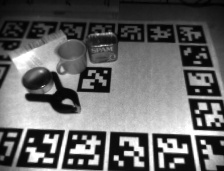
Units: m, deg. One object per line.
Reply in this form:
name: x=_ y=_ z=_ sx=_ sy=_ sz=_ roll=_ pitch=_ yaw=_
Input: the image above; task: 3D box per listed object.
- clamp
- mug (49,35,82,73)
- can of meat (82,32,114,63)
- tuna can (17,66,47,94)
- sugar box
clamp: x=-0.170 y=0.036 z=0.633 sx=0.164 sy=0.037 sz=0.122 roll=35 pitch=59 yaw=16
mug: x=-0.147 y=-0.087 z=0.675 sx=0.092 sy=0.082 sz=0.117 roll=24 pitch=62 yaw=15
can of meat: x=-0.044 y=-0.122 z=0.707 sx=0.102 sy=0.084 sz=0.057 roll=-5 pitch=56 yaw=-4
tuna can: x=-0.245 y=-0.015 z=0.660 sx=0.086 sy=0.034 sz=0.085 roll=0 pitch=59 yaw=1
sugar box: x=-0.238 y=-0.100 z=0.688 sx=0.177 sy=0.093 sz=0.045 roll=-31 pitch=60 yaw=-20
